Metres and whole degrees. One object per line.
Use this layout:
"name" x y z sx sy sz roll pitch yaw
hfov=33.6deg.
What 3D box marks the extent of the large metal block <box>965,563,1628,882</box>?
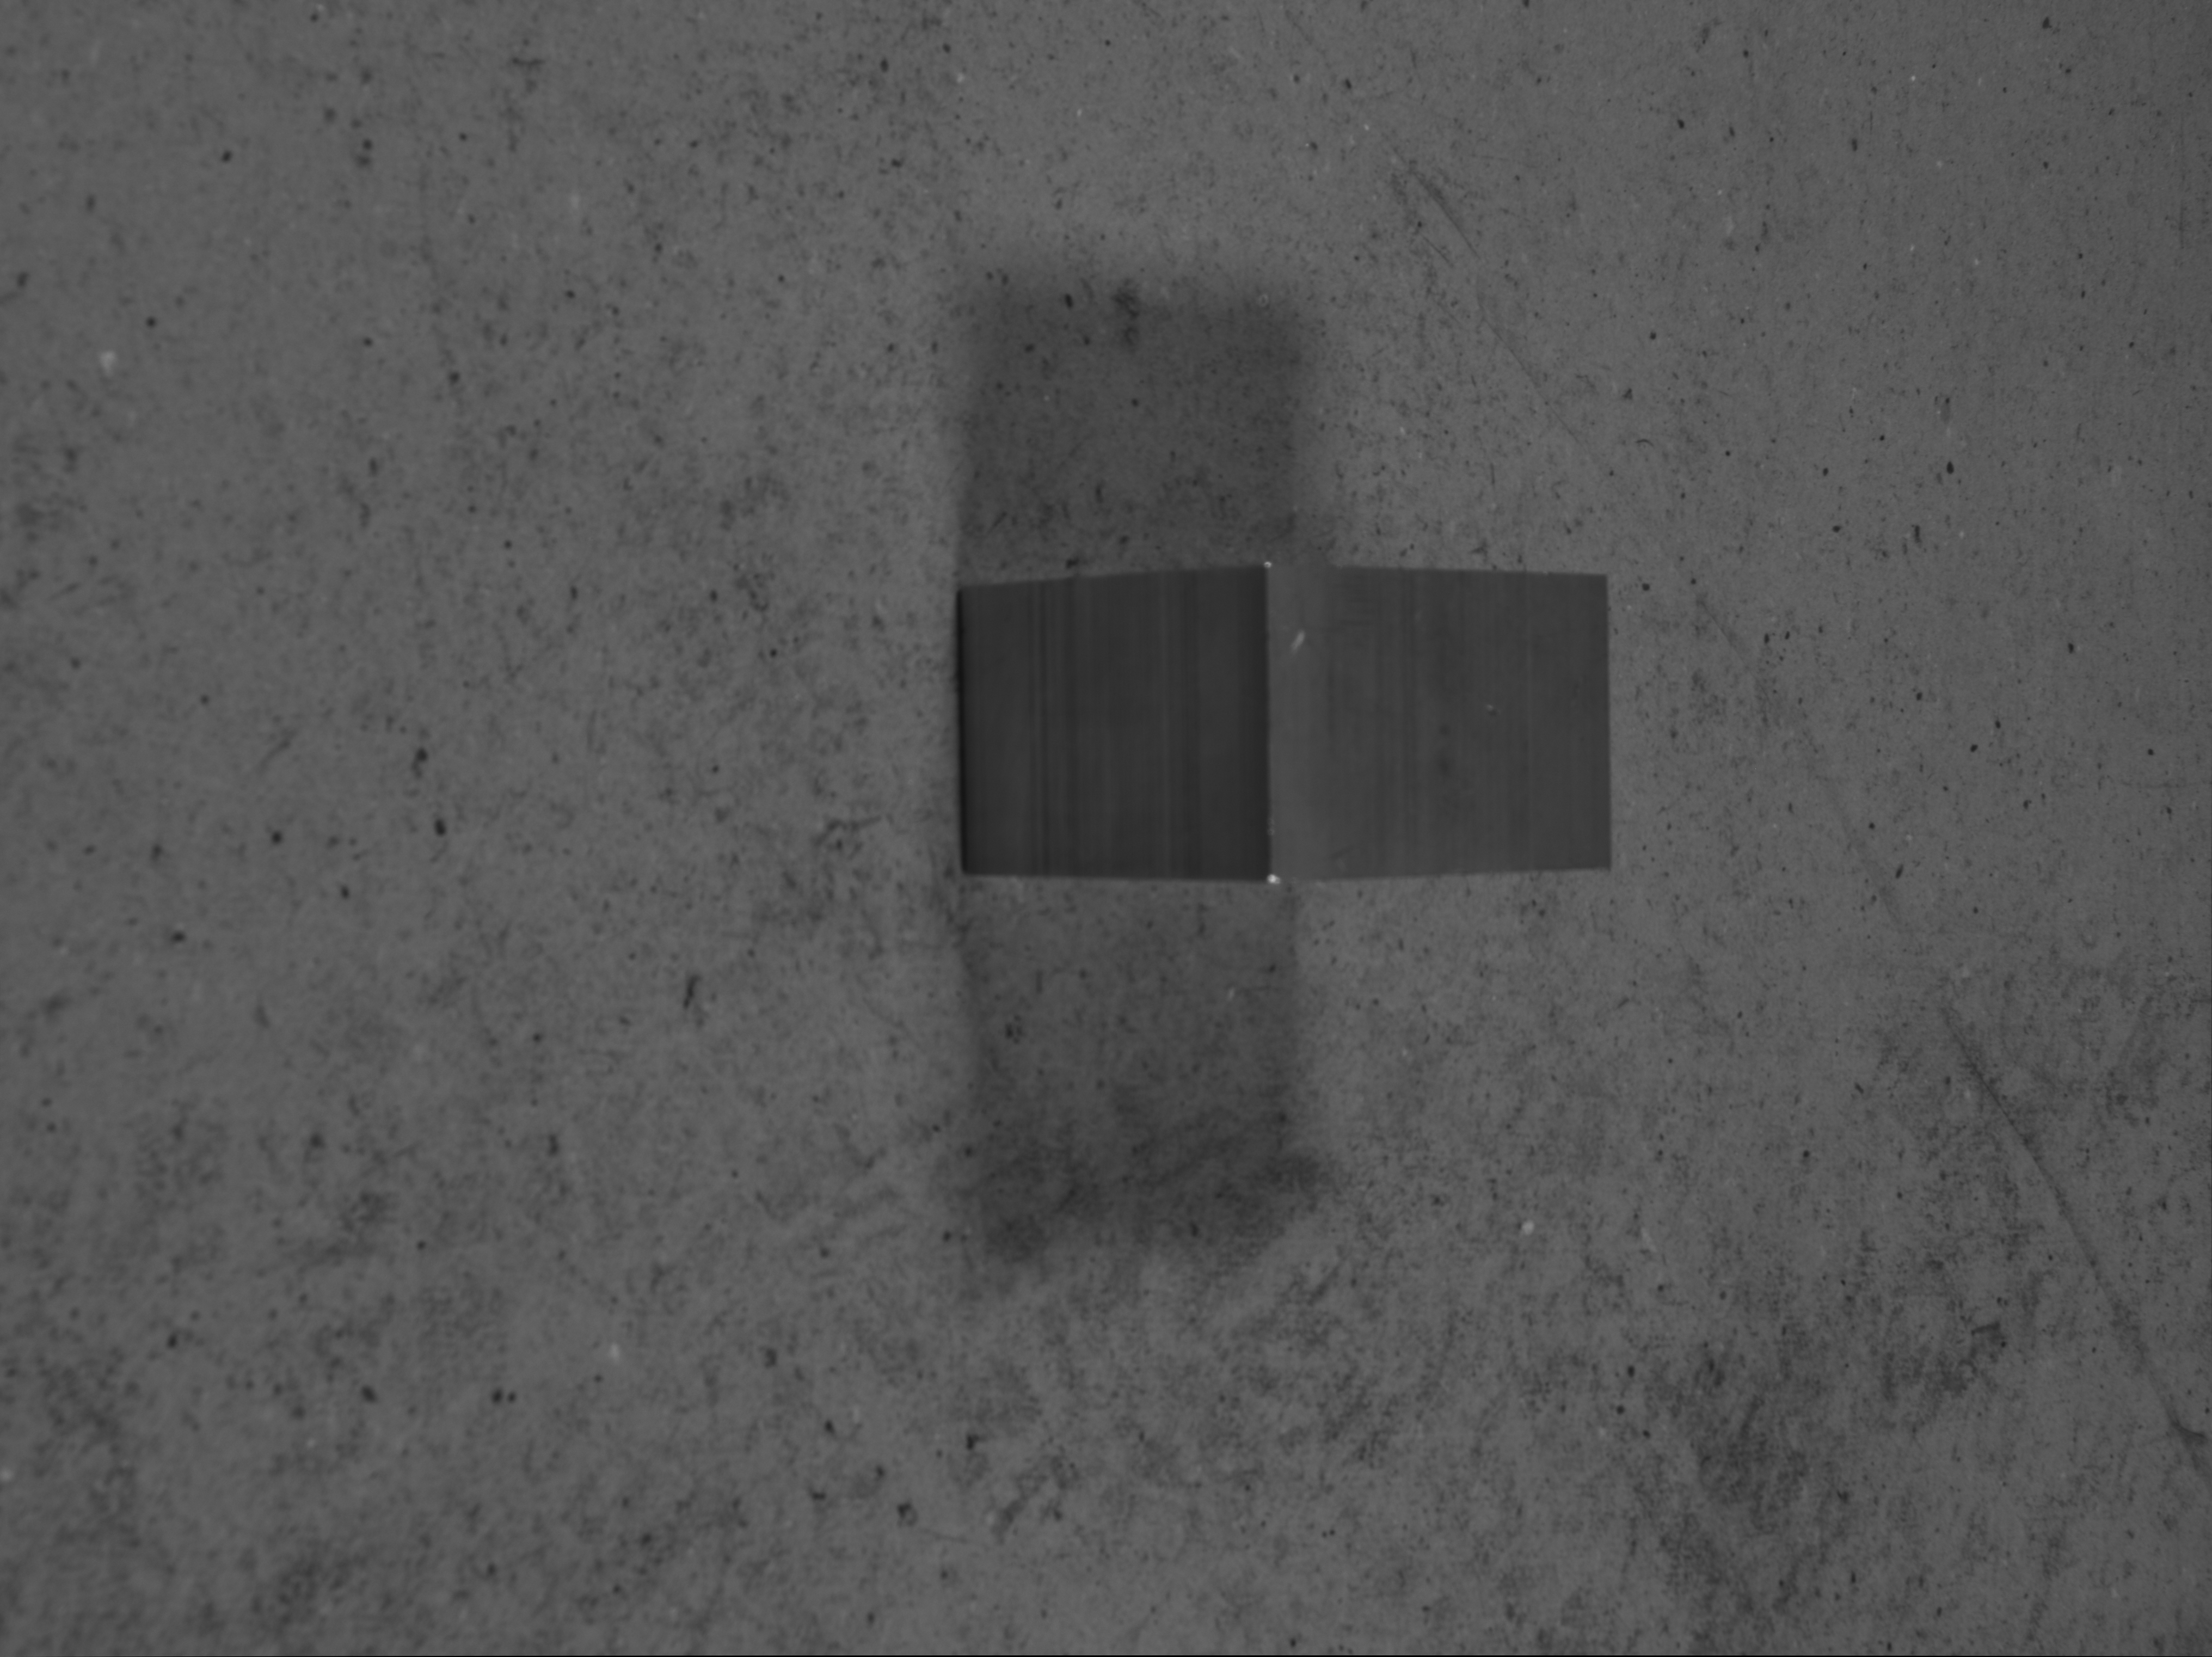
"large metal block" 0.032 -0.017 0.629 0.080 0.080 0.050 -2 91 -40
